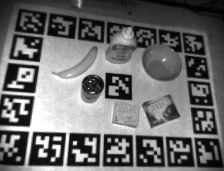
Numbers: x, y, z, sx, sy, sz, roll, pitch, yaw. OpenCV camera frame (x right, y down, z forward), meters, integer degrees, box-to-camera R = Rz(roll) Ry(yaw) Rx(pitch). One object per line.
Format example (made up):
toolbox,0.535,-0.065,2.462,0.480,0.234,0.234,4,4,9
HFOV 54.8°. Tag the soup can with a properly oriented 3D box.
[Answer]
soup can,-0.076,0.013,0.734,0.068,0.102,0.067,4,70,-11

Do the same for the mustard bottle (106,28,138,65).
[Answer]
mustard bottle,0.040,-0.138,0.758,0.097,0.191,0.058,5,68,-9

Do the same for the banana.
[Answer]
banana,-0.121,-0.084,0.800,0.074,0.039,0.198,41,69,14

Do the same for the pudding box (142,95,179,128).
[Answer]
pudding box,0.180,0.097,0.805,0.114,0.038,0.090,-19,83,-17

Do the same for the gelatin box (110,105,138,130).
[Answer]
gelatin box,0.044,0.114,0.775,0.090,0.030,0.073,11,74,-7

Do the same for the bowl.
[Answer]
bowl,0.193,-0.083,0.860,0.162,0.055,0.161,3,71,-9
